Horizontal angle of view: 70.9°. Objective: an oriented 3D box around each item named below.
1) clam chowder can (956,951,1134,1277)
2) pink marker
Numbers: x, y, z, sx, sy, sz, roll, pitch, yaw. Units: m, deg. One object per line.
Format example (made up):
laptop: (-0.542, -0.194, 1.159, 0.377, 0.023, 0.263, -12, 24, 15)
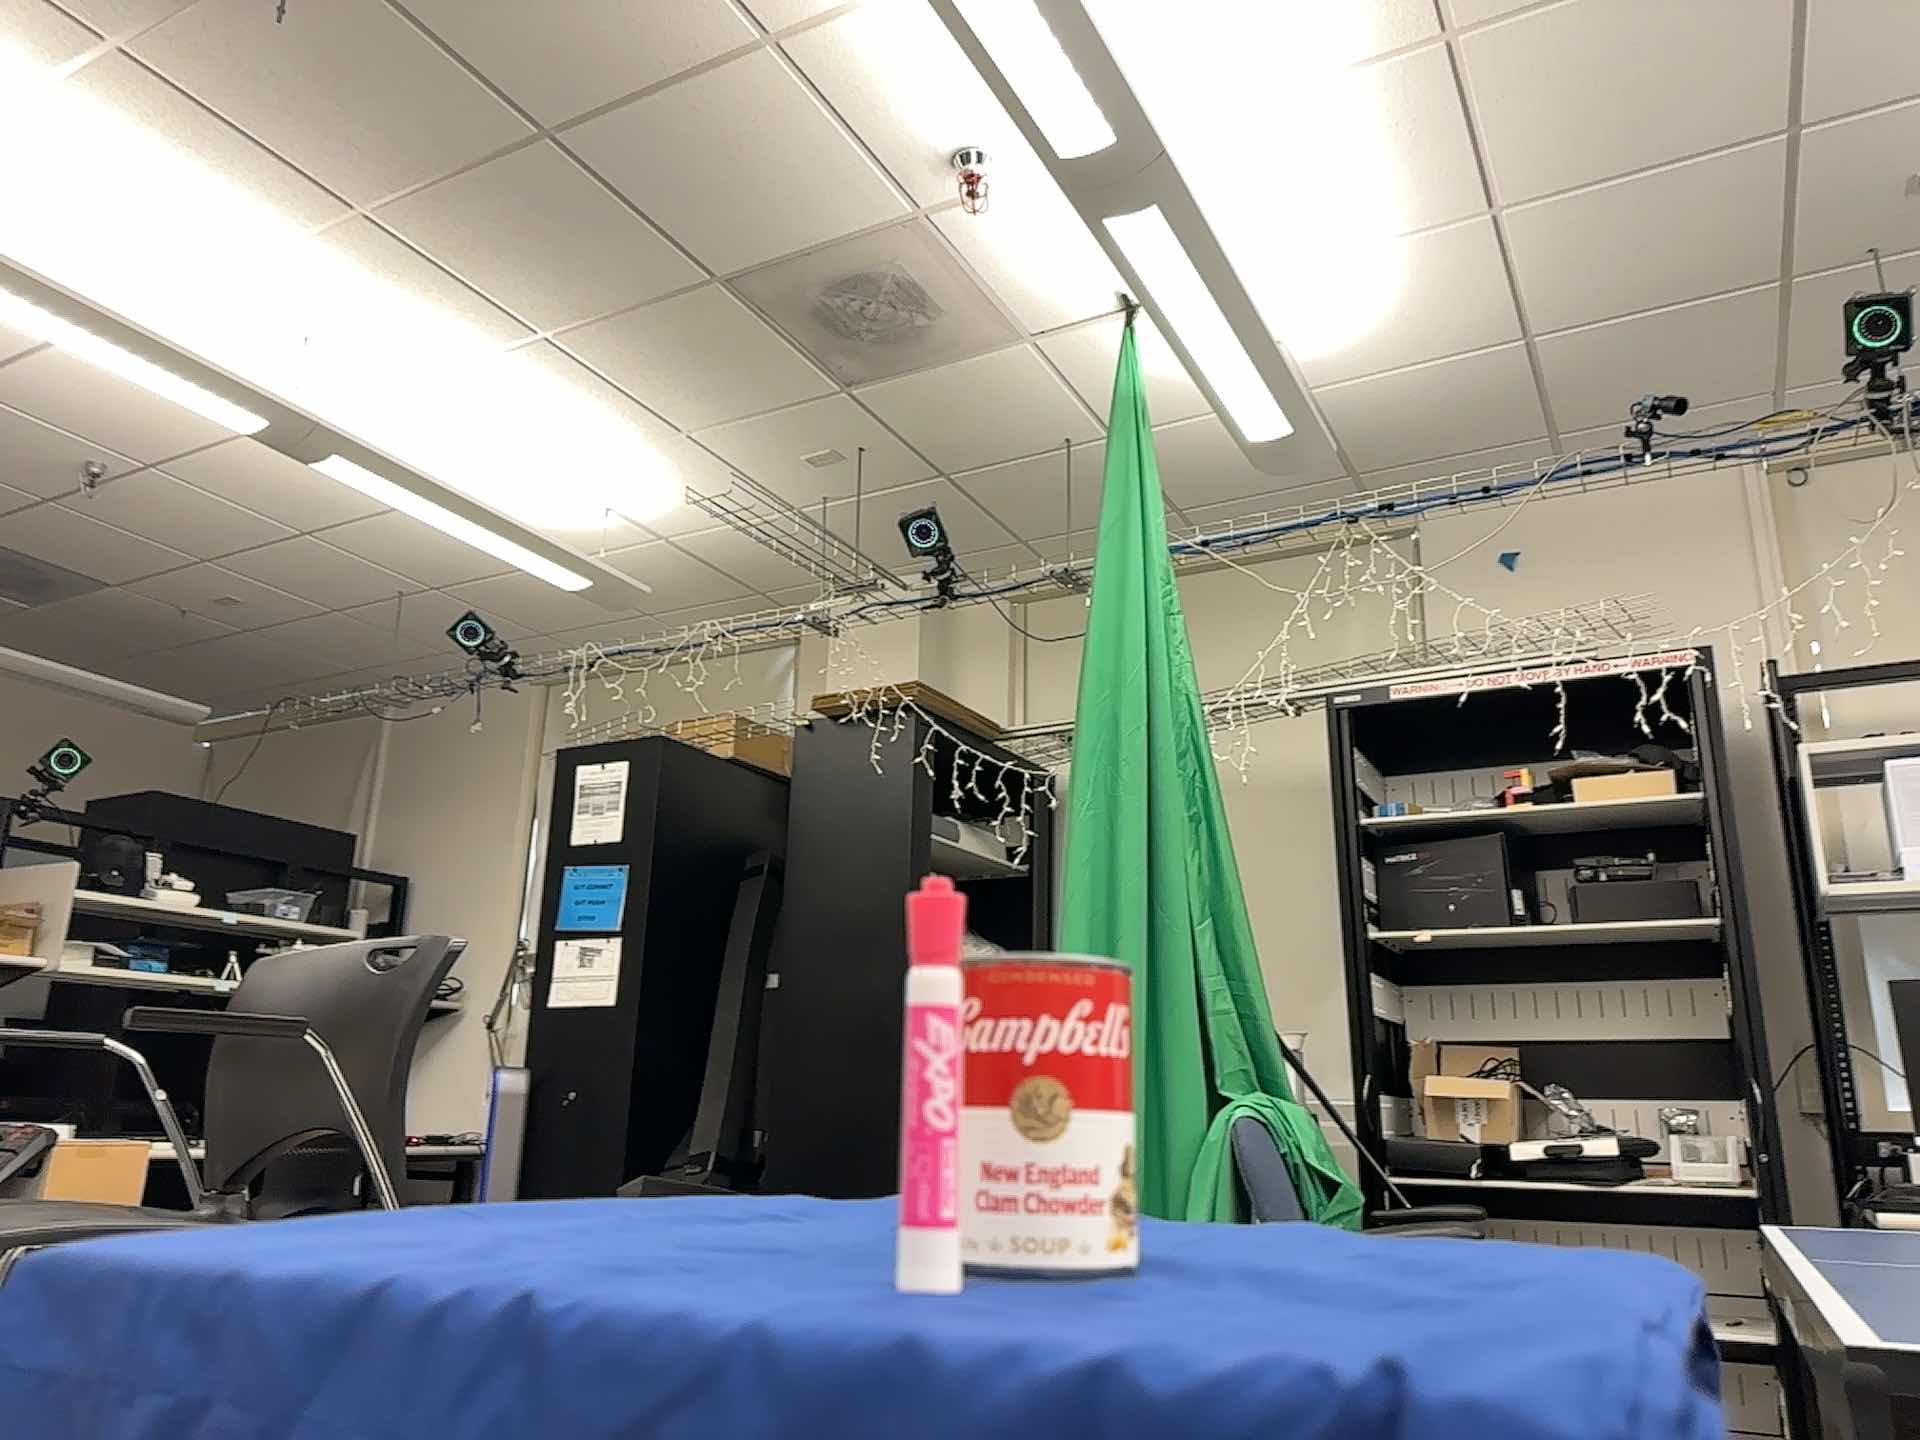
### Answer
clam chowder can: (0.026, 0.134, 0.468, 0.068, 0.102, 0.068, 1, -14, 0)
pink marker: (-0.009, 0.109, 0.413, 0.020, 0.121, 0.020, 1, -15, 0)
